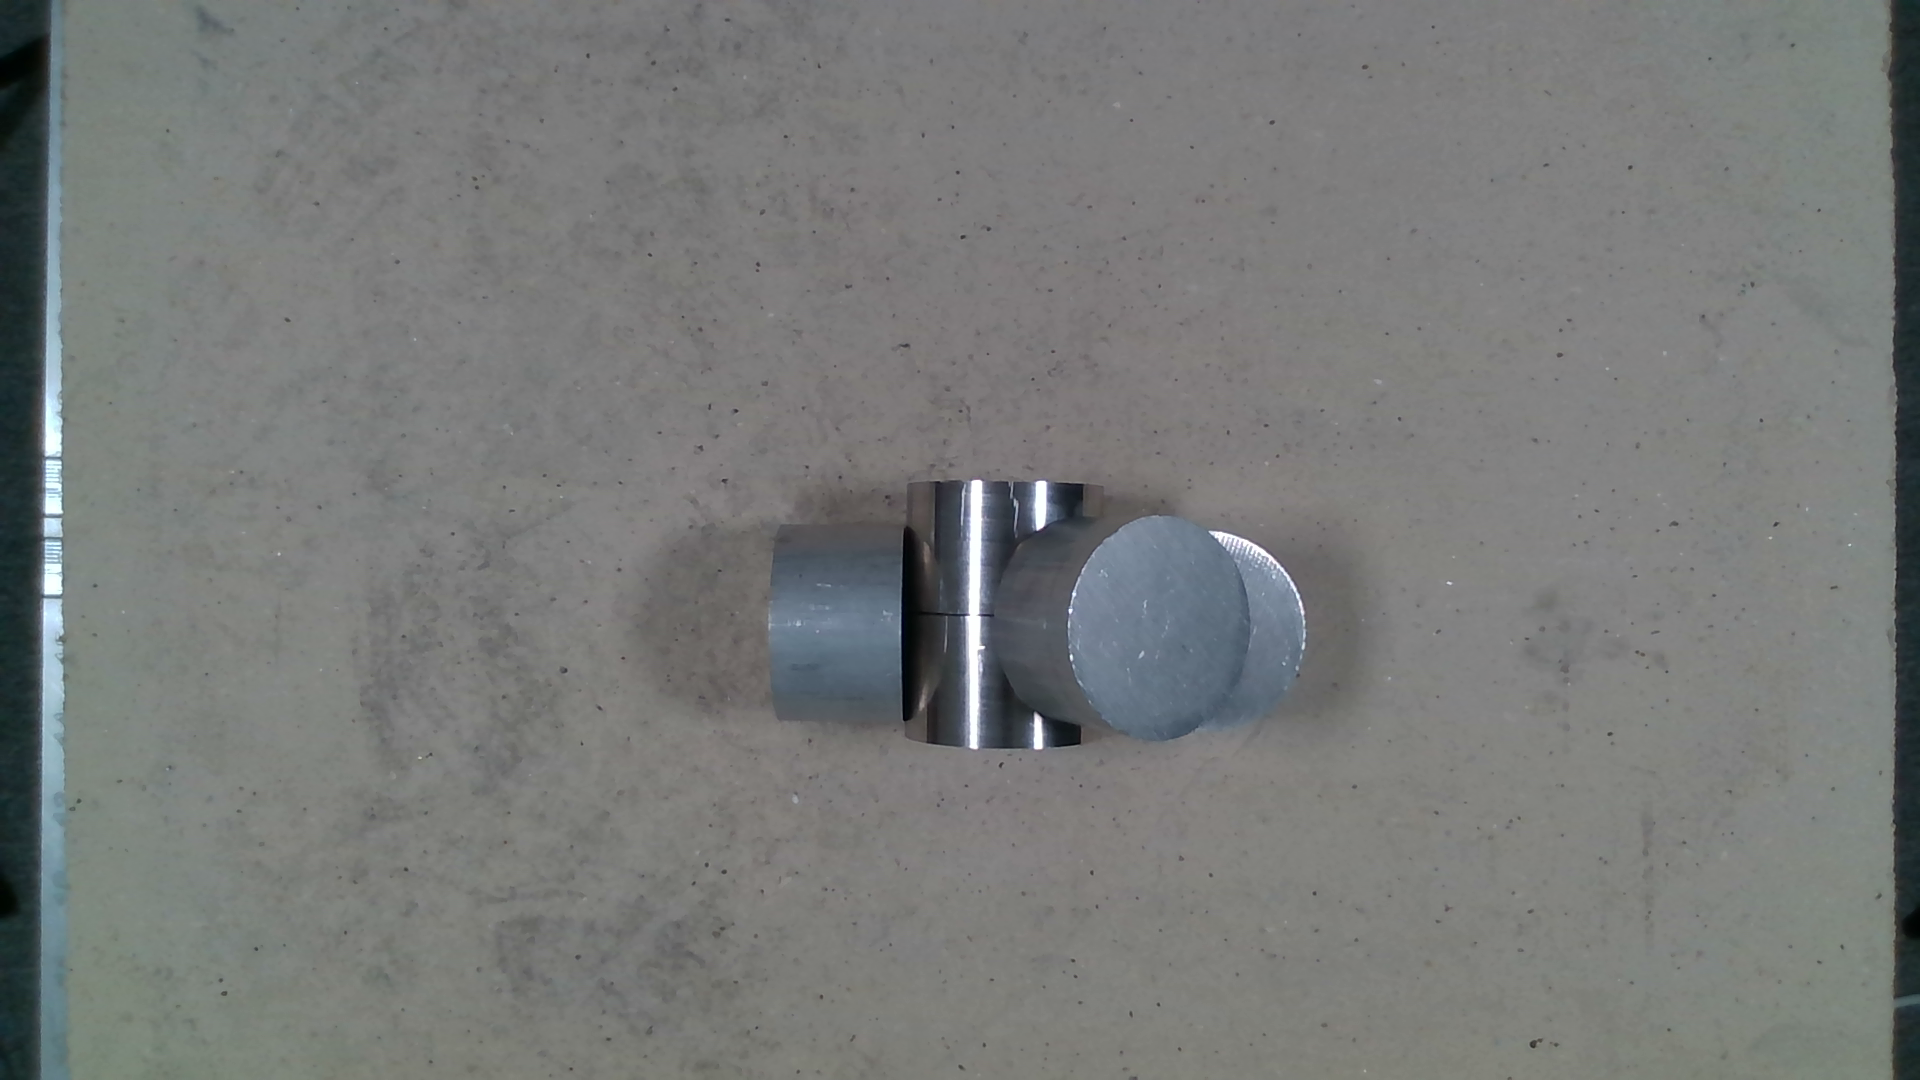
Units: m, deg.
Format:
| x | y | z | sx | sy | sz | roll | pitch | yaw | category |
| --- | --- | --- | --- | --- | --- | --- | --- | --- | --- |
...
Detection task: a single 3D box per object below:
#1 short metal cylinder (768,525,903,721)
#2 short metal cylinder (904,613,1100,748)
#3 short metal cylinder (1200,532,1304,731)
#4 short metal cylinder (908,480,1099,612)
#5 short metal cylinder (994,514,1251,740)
| x | y | z | sx | sy | sz | roll | pitch | yaw | category |
| --- | --- | --- | --- | --- | --- | --- | --- | --- | --- |
| -0.048 | 0.033 | 0.560 | 0.050 | 0.080 | 0.080 | 0 | 90 | 0 | short metal cylinder |
| 0.017 | 0.054 | 0.560 | 0.080 | 0.080 | 0.050 | 0 | 89 | 0 | short metal cylinder |
| 0.098 | 0.036 | 0.576 | 0.080 | 0.050 | 0.080 | 0 | 90 | 0 | short metal cylinder |
| 0.018 | 0.002 | 0.560 | 0.080 | 0.080 | 0.050 | 1 | 90 | 0 | short metal cylinder |
| 0.060 | 0.031 | 0.509 | 0.080 | 0.050 | 0.080 | 0 | 91 | -29 | short metal cylinder |
